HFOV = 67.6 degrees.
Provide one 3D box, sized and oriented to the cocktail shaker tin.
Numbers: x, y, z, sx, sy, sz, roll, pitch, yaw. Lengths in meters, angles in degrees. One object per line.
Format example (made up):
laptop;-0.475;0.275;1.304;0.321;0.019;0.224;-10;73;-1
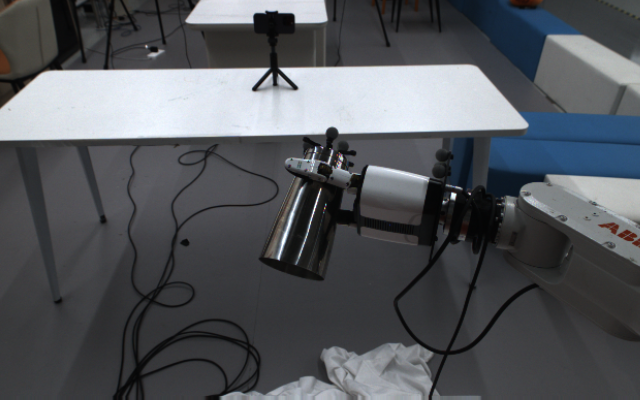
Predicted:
cocktail shaker tin;-0.012;0.013;0.670;0.093;0.093;0.170;13;72;15
